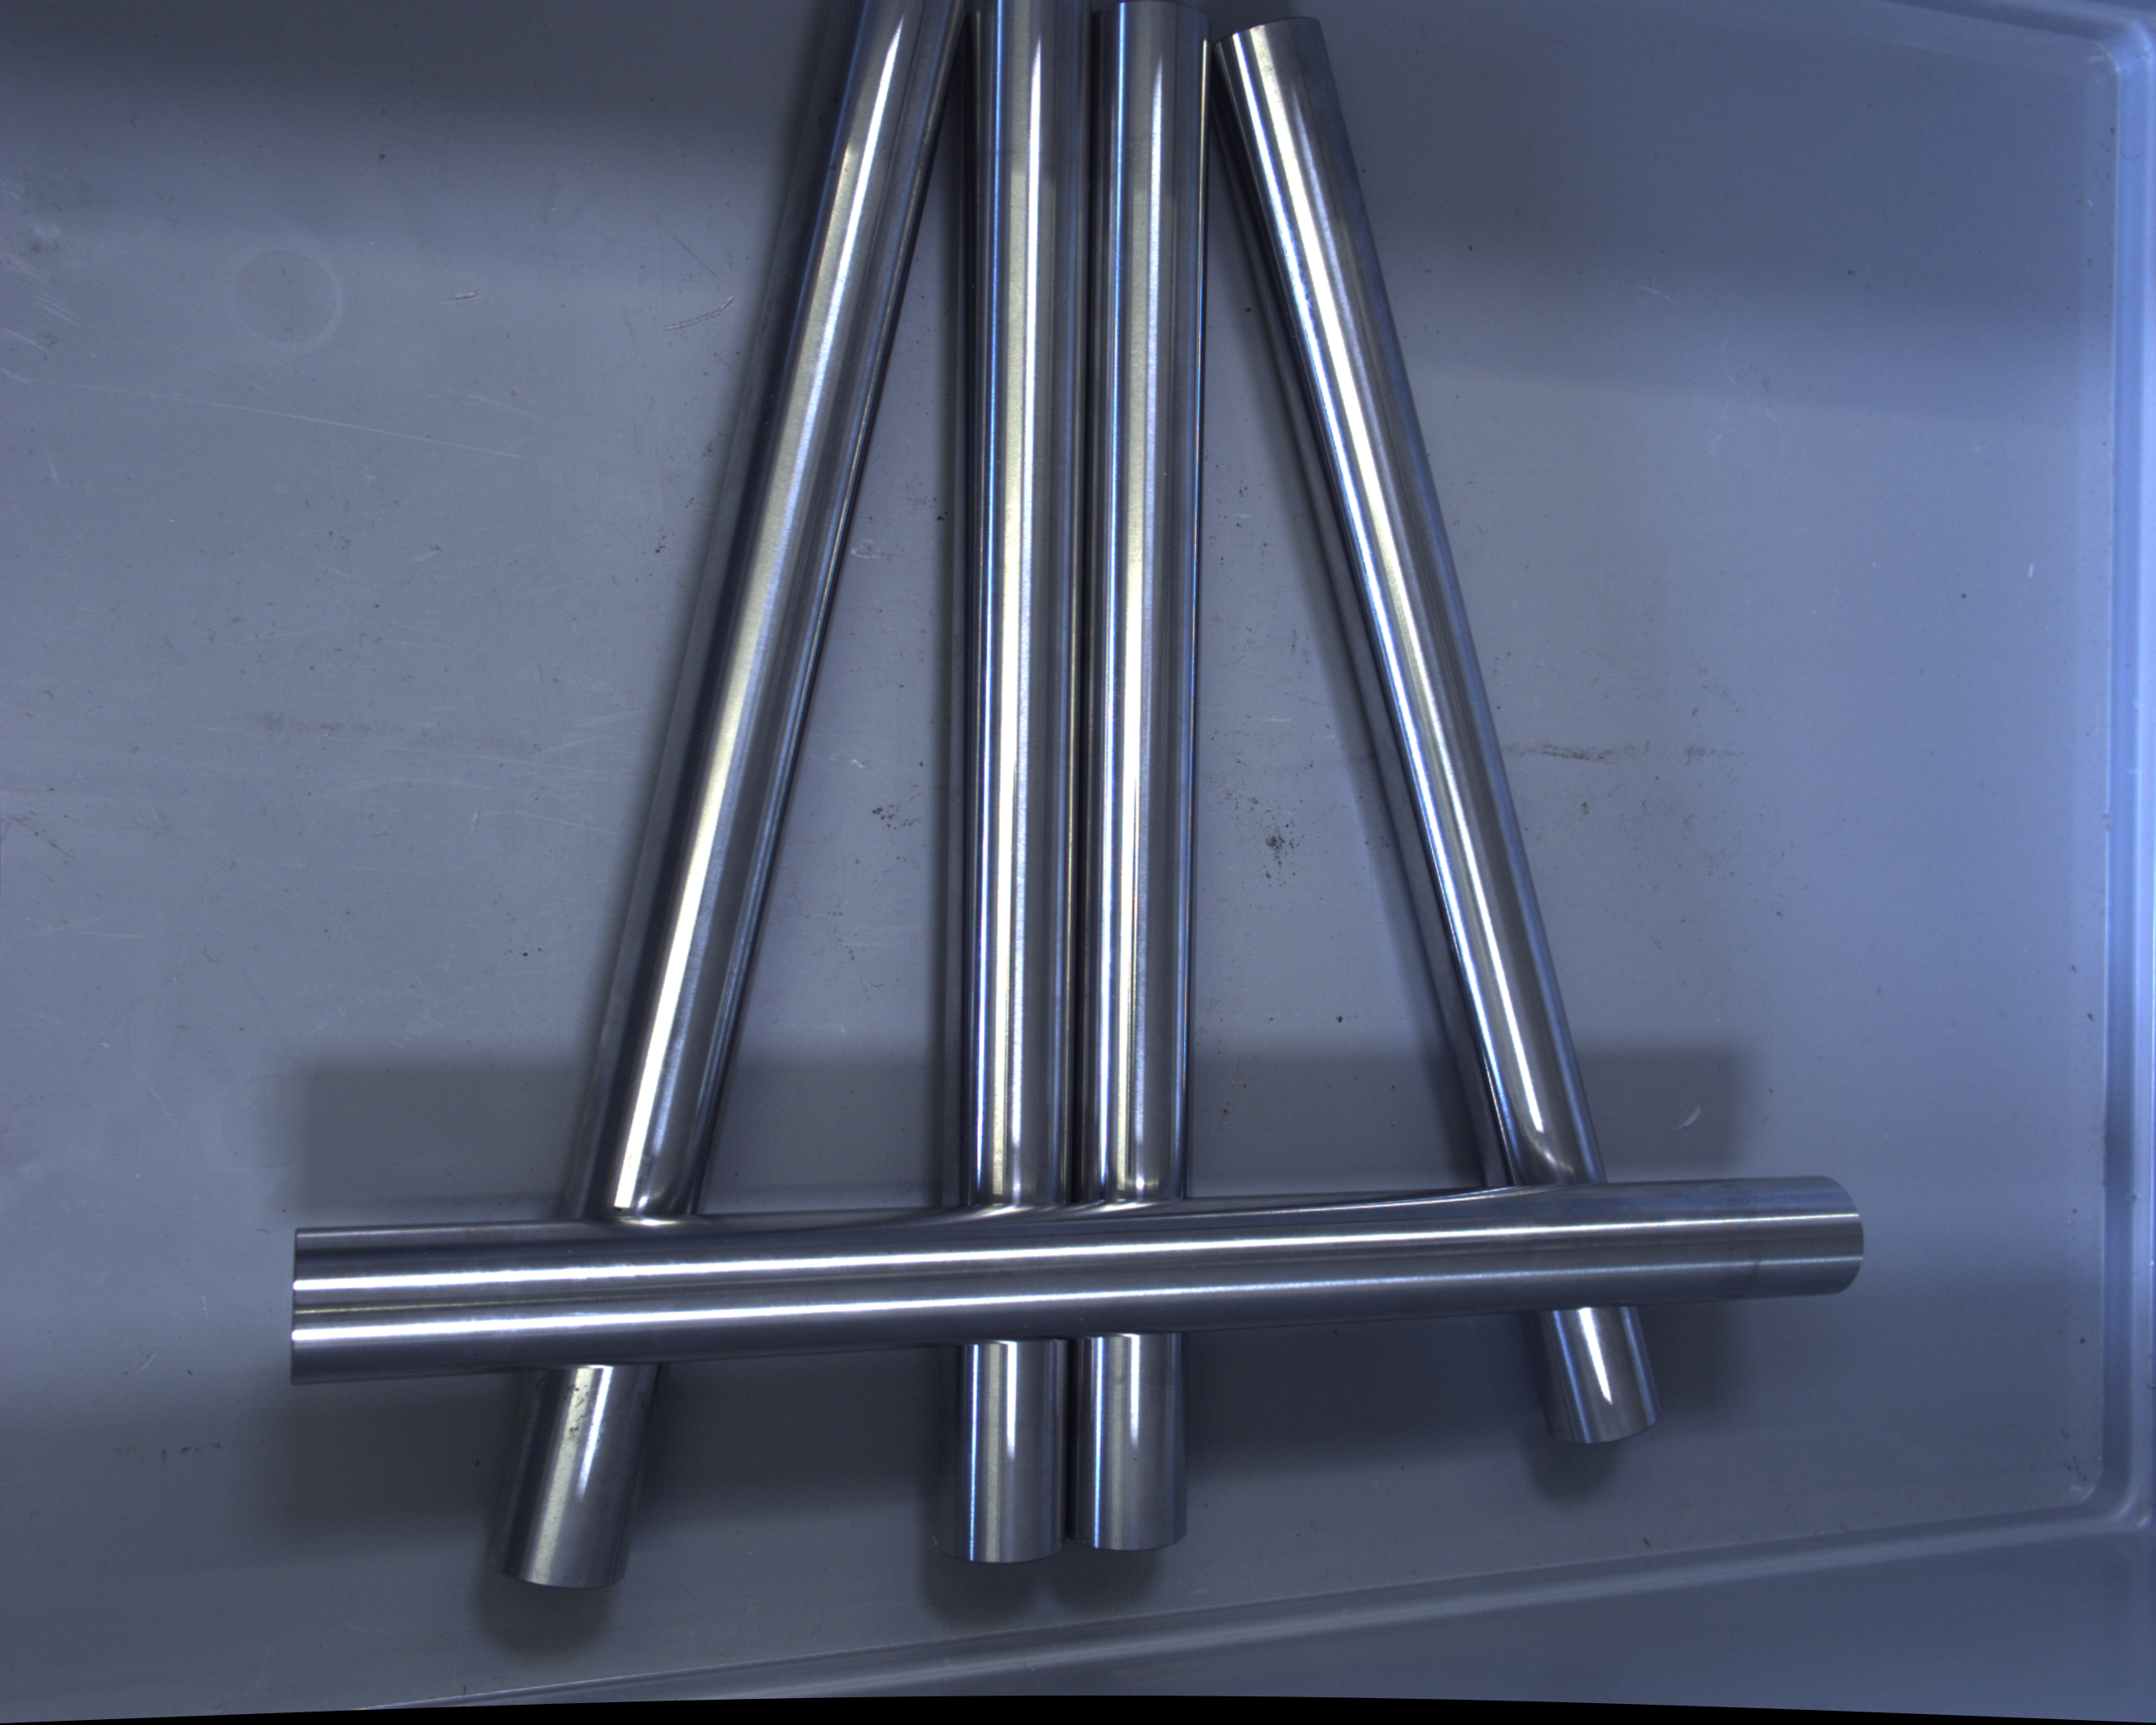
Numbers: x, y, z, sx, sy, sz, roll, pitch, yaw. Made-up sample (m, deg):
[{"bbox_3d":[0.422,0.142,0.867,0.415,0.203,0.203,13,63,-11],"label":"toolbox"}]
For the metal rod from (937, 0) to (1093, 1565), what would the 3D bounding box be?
[{"bbox_3d":[-0.012,-0.017,0.405,0.025,0.025,0.298,1,90,-20],"label":"metal rod"}]

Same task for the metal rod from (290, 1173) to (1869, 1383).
[{"bbox_3d":[0.016,0.074,0.387,0.302,0.025,0.025,1,90,-20],"label":"metal rod"}]

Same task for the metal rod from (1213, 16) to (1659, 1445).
[{"bbox_3d":[0.075,-0.023,0.437,0.025,0.025,0.298,-17,96,-19],"label":"metal rod"}]

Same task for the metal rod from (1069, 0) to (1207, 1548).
[{"bbox_3d":[0.011,-0.018,0.413,0.025,0.025,0.298,1,90,-20],"label":"metal rod"}]

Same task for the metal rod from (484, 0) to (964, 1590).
[{"bbox_3d":[-0.064,-0.019,0.386,0.025,0.025,0.298,13,86,-20],"label":"metal rod"}]
